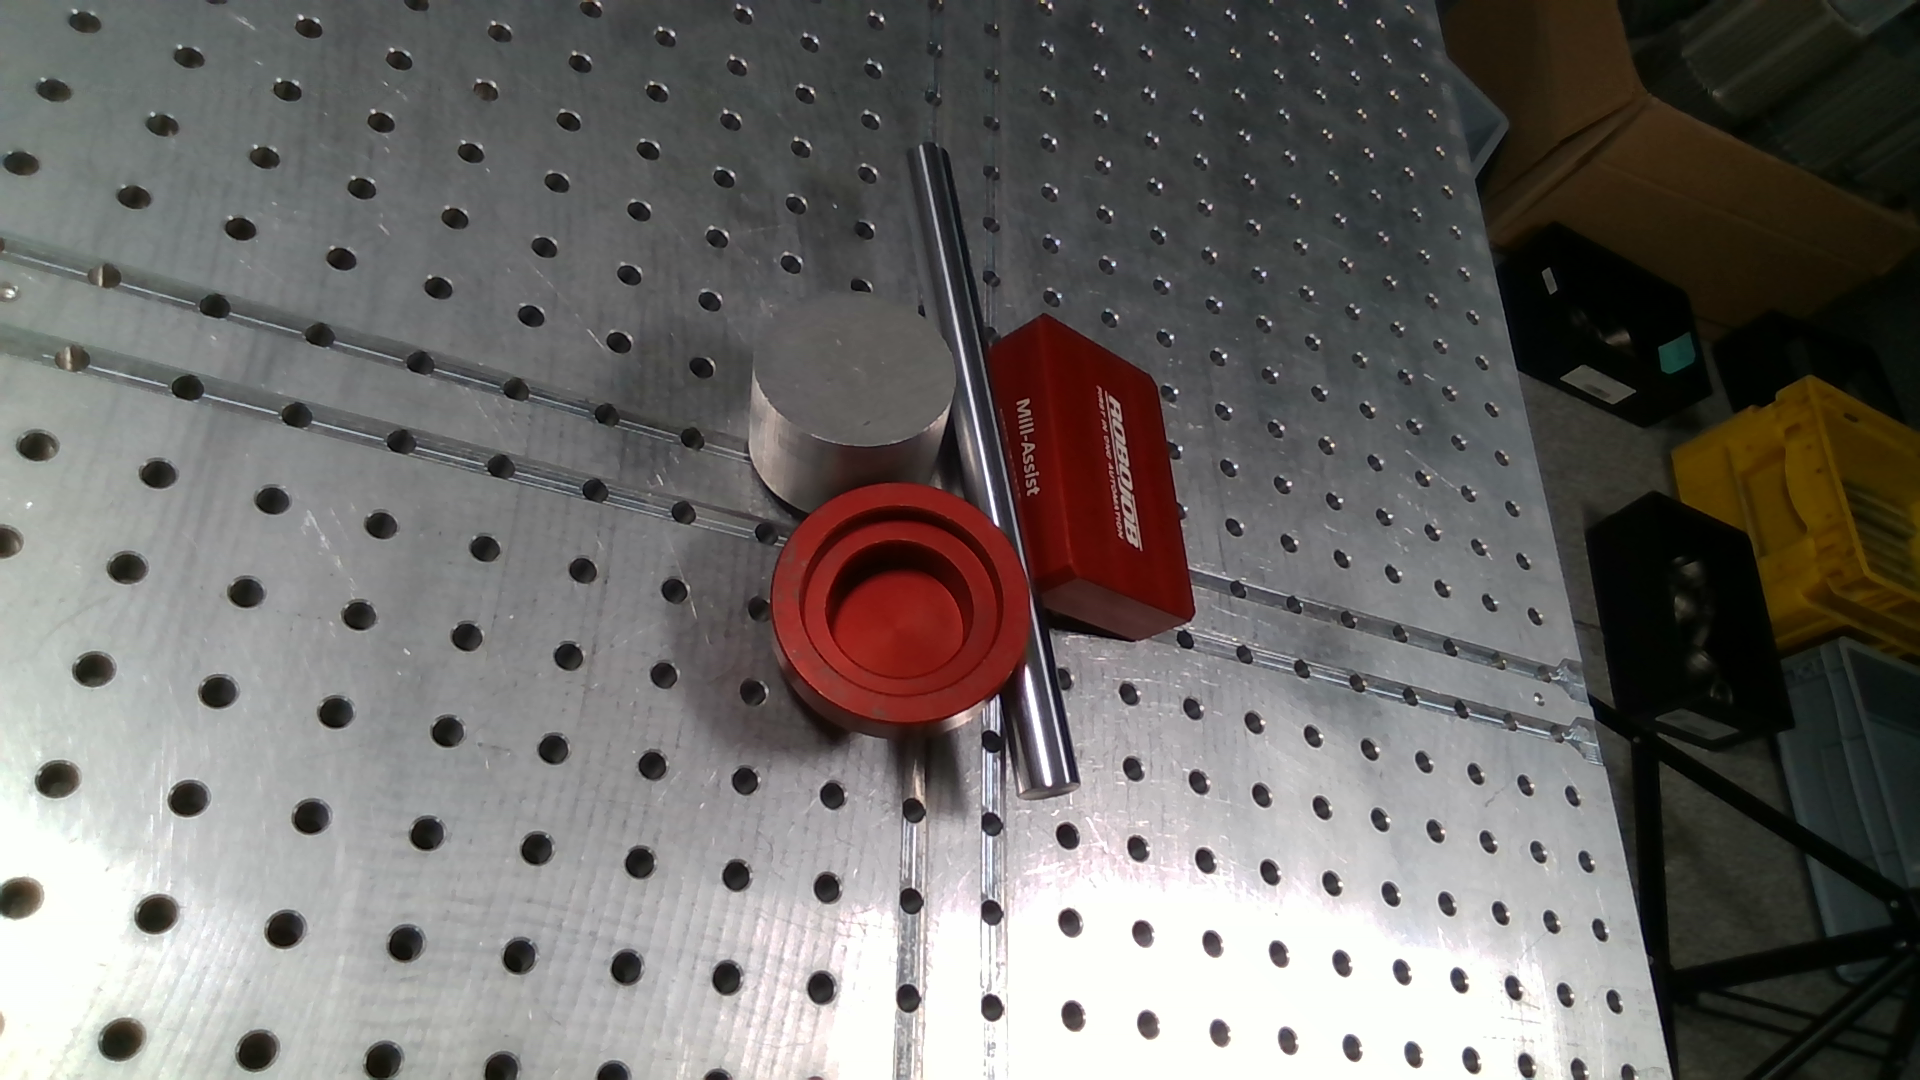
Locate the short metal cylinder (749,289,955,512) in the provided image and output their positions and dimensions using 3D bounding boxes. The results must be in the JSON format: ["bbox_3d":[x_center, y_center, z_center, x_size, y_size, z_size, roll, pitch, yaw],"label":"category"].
[{"bbox_3d":[-0.046,-0.055,0.559,0.080,0.050,0.080,6,56,-8],"label":"short metal cylinder"}]

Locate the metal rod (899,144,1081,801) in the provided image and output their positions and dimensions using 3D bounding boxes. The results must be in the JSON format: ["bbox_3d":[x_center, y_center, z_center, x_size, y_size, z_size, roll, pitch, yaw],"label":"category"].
[{"bbox_3d":[0.008,-0.040,0.582,0.025,0.025,0.299,3,64,-30],"label":"metal rod"}]

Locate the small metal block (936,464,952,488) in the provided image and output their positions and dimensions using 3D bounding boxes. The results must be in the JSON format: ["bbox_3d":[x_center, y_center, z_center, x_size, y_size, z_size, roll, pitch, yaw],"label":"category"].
[{"bbox_3d":[-0.015,-0.030,0.607,0.050,0.025,0.050,30,53,-15],"label":"small metal block"}]

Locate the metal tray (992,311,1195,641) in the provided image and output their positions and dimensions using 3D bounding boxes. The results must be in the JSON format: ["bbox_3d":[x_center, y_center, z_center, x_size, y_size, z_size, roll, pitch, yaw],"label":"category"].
[{"bbox_3d":[0.060,-0.028,0.620,0.090,0.030,0.130,22,54,-43],"label":"metal tray"}]

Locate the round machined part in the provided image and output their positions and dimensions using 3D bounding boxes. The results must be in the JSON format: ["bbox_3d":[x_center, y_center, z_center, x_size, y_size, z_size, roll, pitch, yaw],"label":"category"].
[{"bbox_3d":[-0.024,0.030,0.532,0.098,0.042,0.098,3,65,-6],"label":"round machined part"}]
